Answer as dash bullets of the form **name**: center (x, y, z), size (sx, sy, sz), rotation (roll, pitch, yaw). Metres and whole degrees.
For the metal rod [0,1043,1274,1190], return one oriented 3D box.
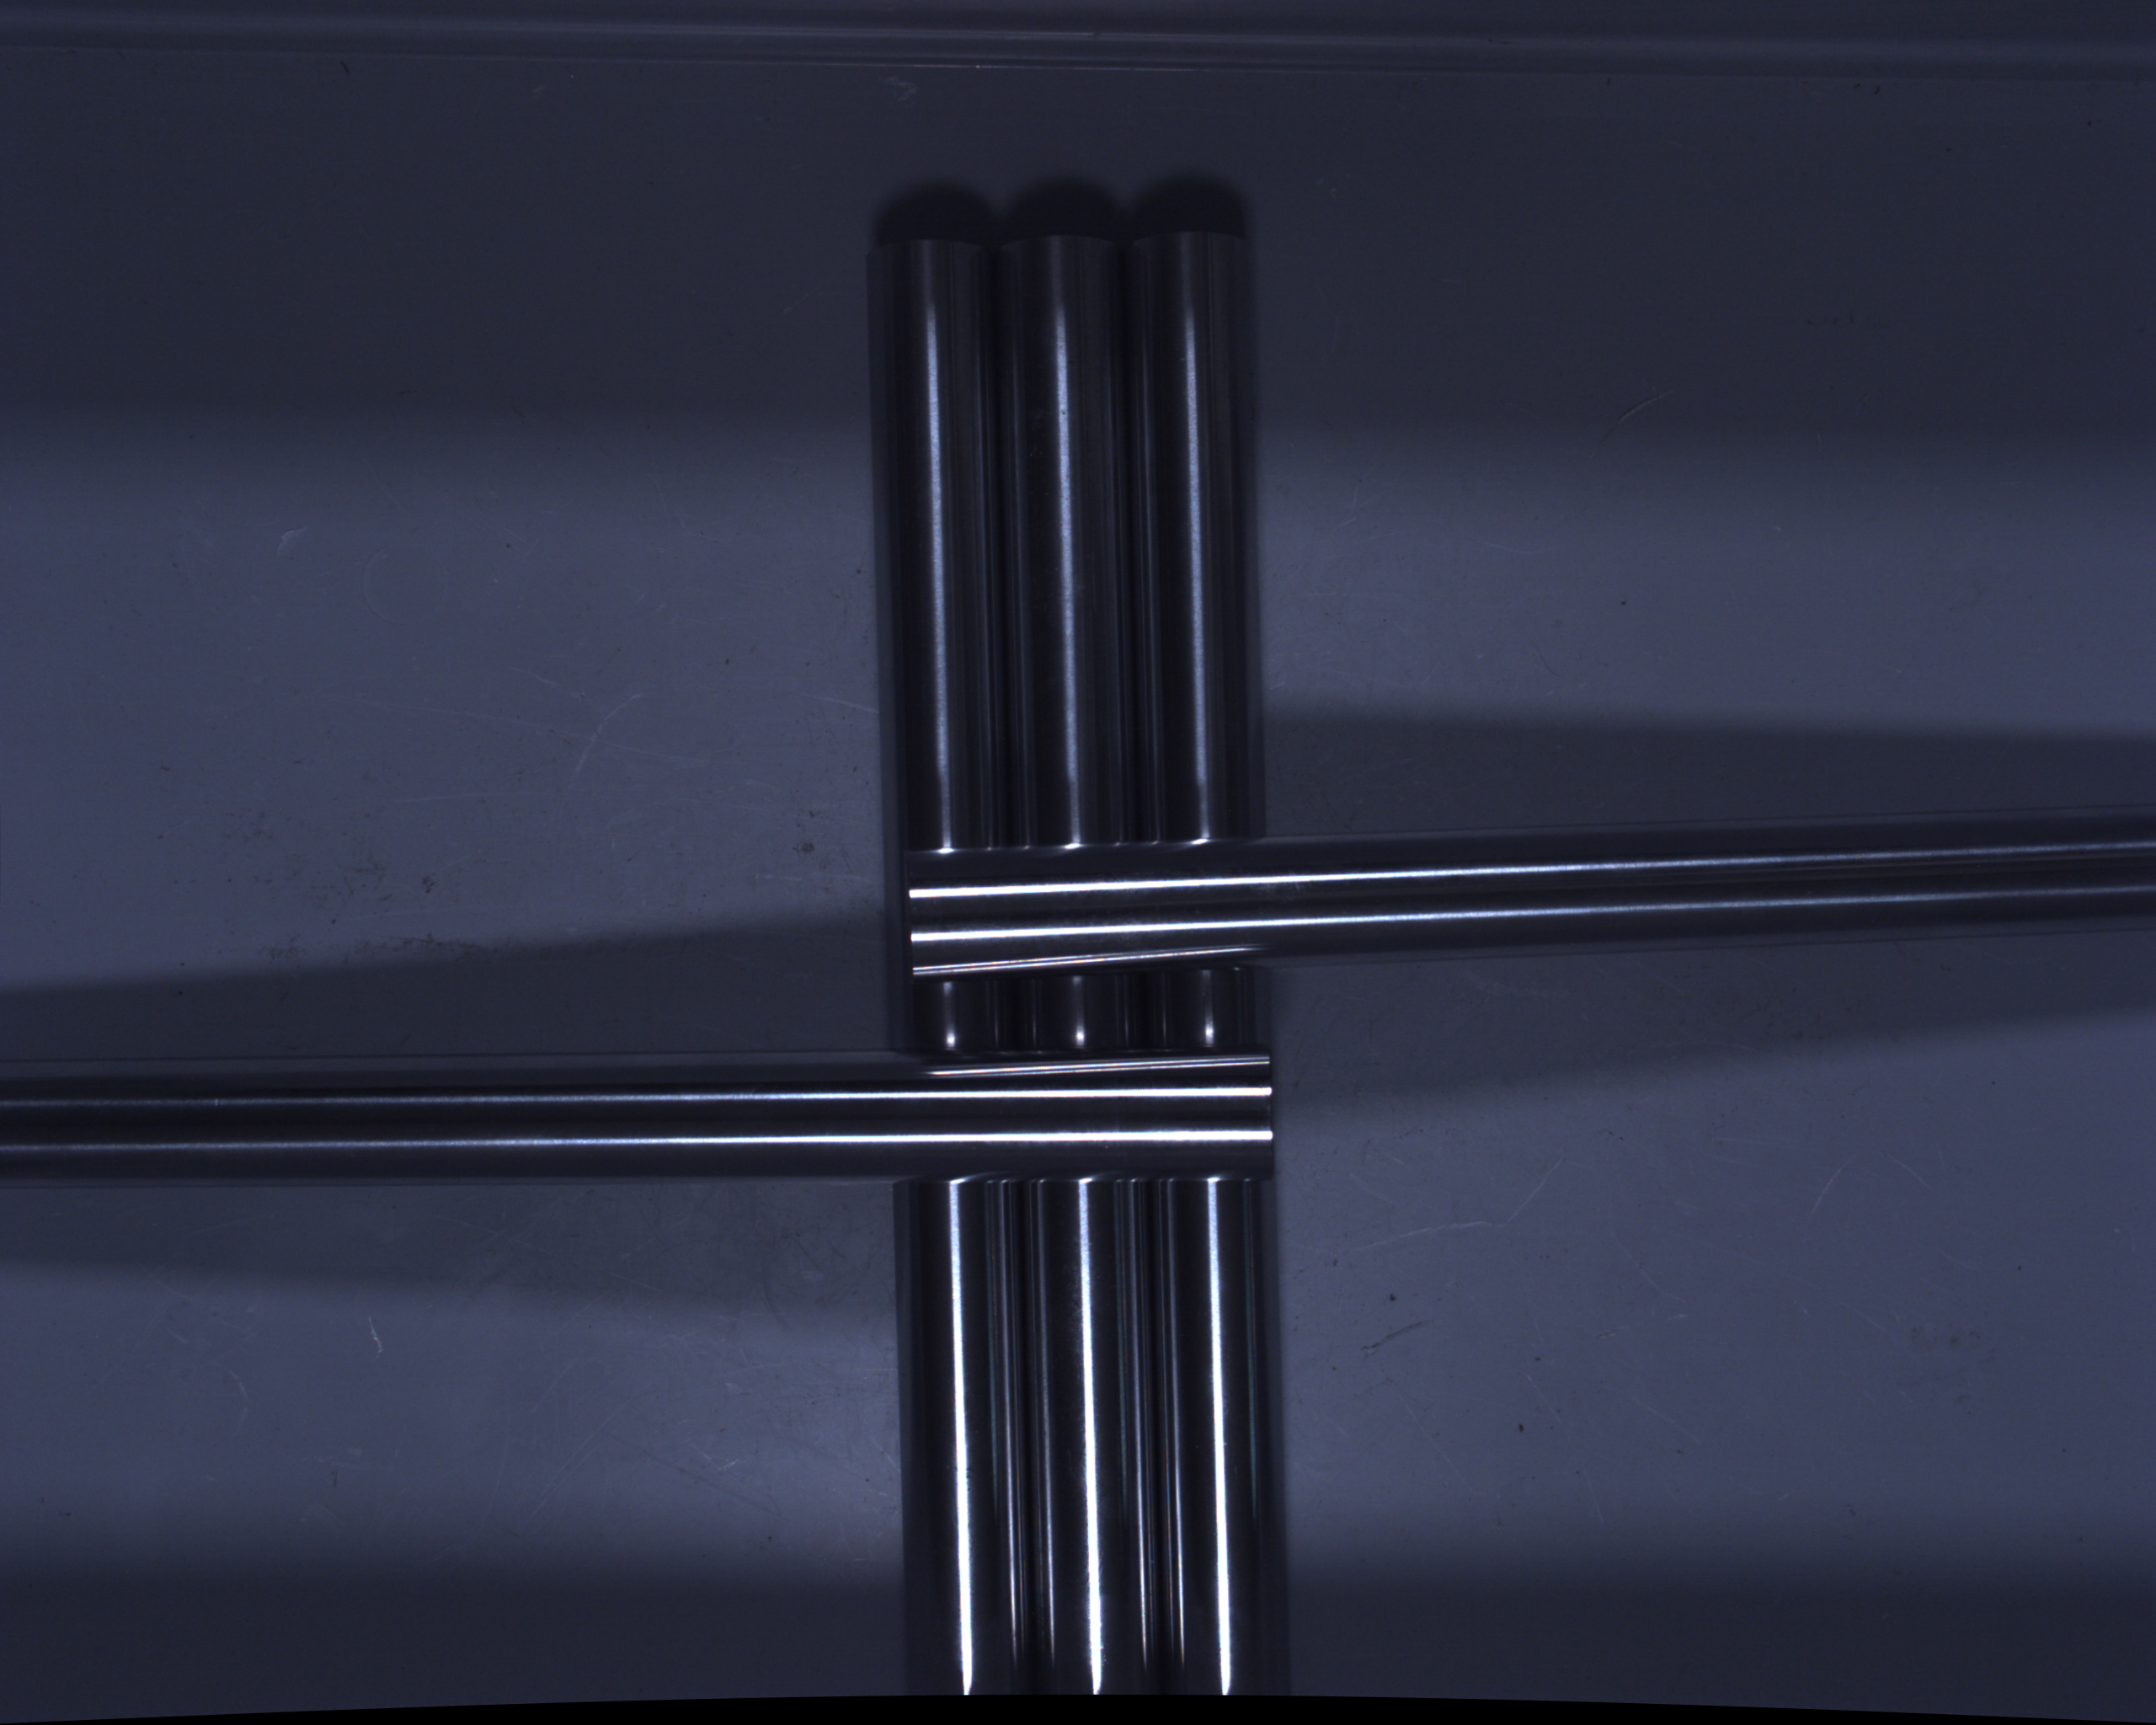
- **metal rod**: center (-0.115, 0.048, 0.393), size (0.302, 0.025, 0.025), rotation (-1, 90, 5)

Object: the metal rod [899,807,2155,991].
- **metal rod**: center (0.118, 0.005, 0.394), size (0.302, 0.025, 0.025), rotation (-2, 90, -7)

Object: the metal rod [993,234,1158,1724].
- **metal rod**: center (0.000, 0.029, 0.410), size (0.025, 0.025, 0.298), rotation (-1, 90, -1)

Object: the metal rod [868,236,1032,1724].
- **metal rod**: center (-0.025, 0.030, 0.410), size (0.025, 0.025, 0.298), rotation (-1, 90, -1)

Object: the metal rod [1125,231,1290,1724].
- **metal rod**: center (0.026, 0.028, 0.410), size (0.025, 0.025, 0.298), rotation (-1, 90, -1)
